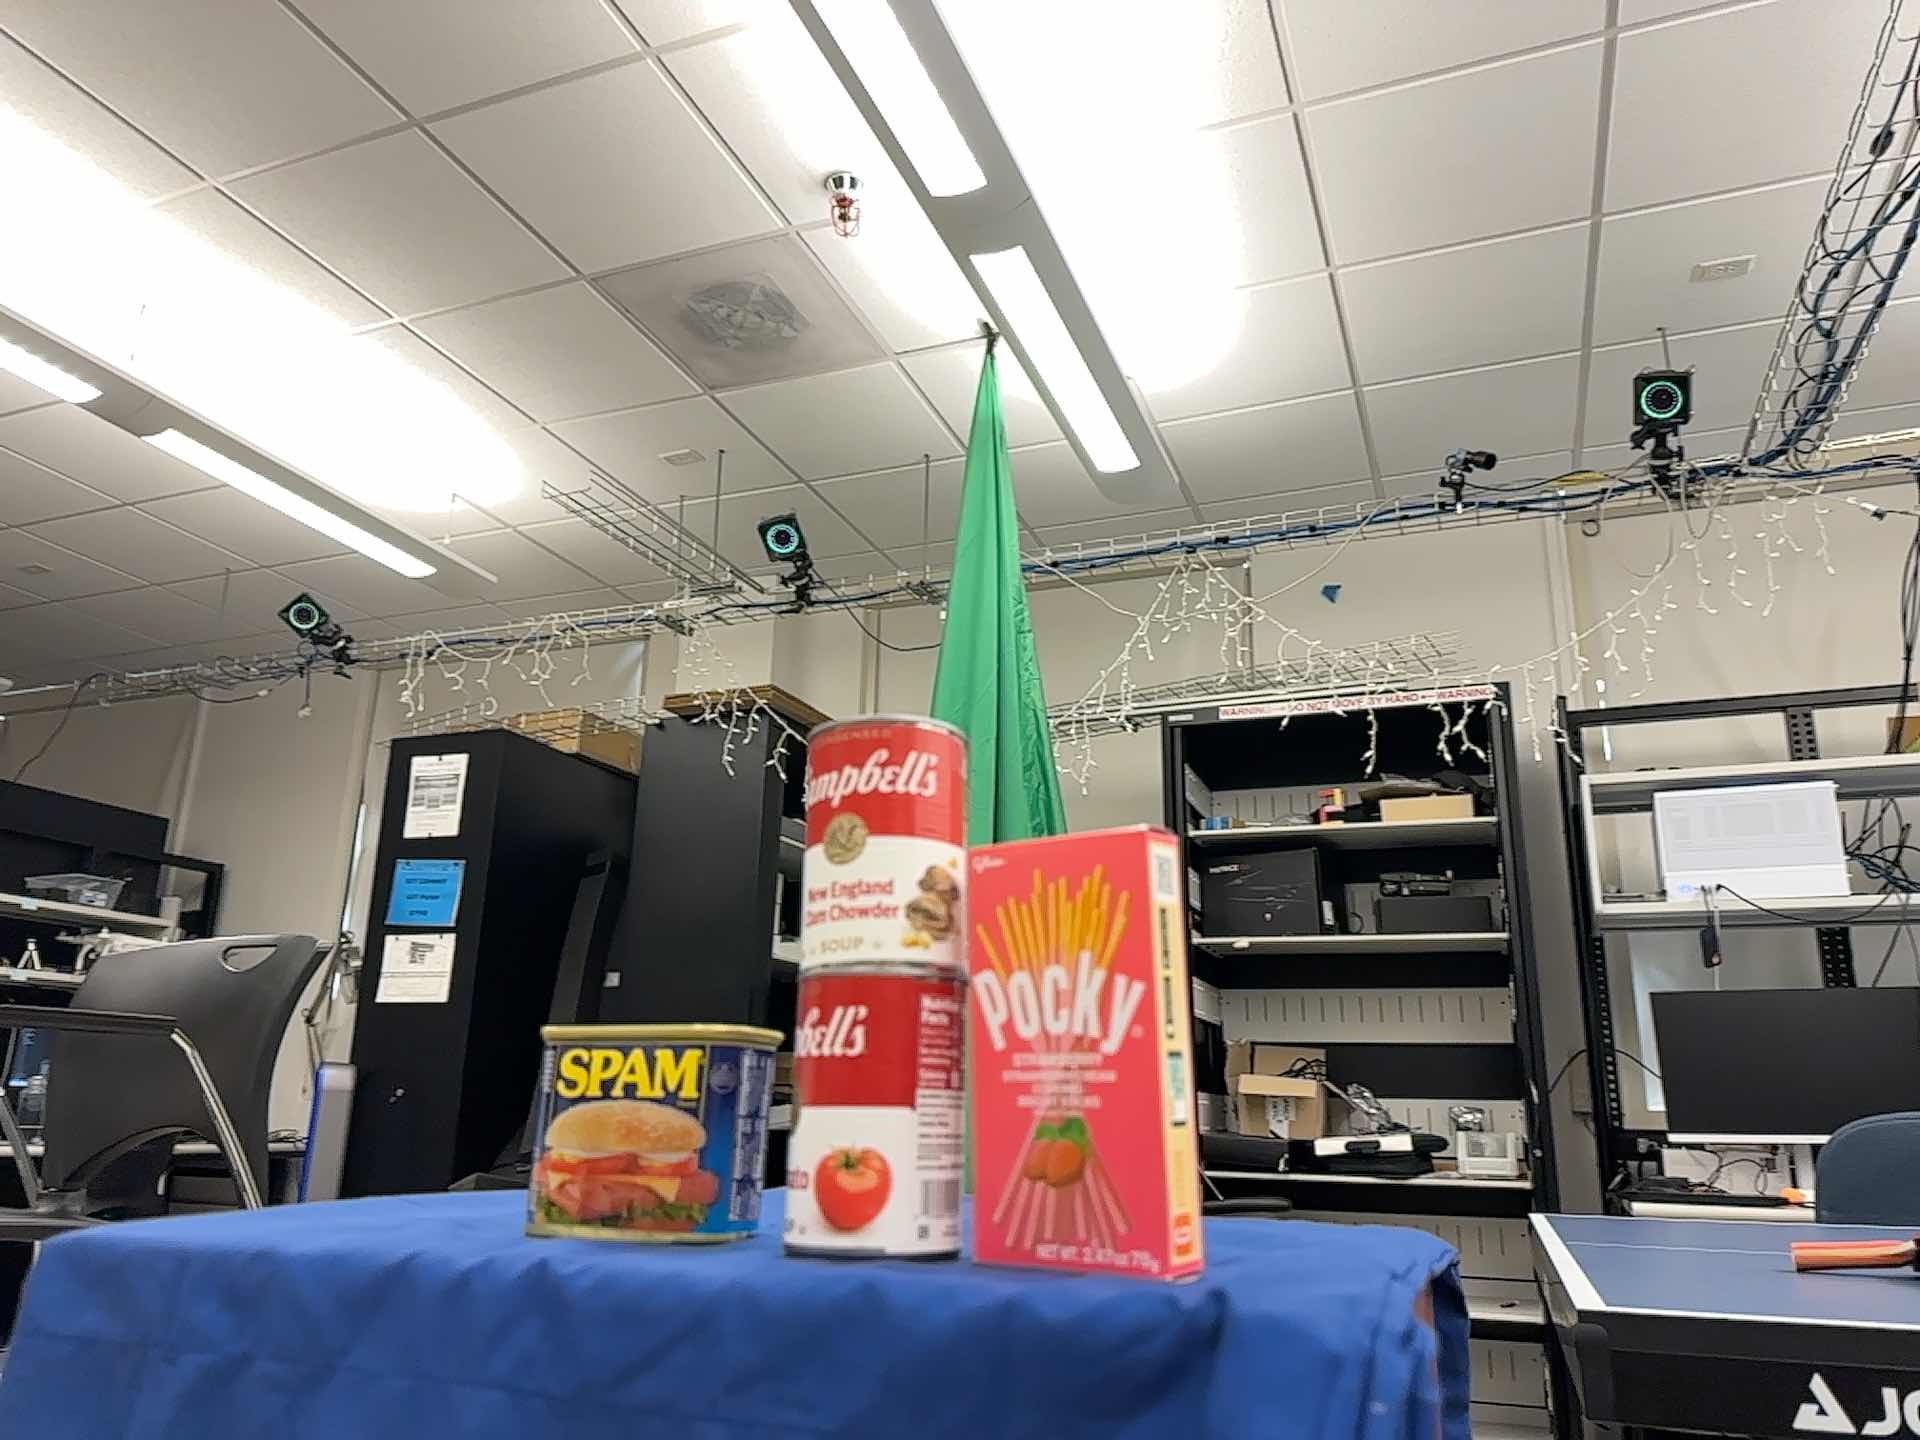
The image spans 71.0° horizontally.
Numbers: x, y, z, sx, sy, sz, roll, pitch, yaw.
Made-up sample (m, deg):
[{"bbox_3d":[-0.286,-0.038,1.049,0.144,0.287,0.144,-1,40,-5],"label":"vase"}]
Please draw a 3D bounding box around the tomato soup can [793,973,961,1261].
[{"bbox_3d":[-0.029,0.152,0.521,0.067,0.102,0.067,1,-16,0],"label":"tomato soup can"}]

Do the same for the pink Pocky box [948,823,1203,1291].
[{"bbox_3d":[0.038,0.118,0.480,0.084,0.154,0.029,-10,-17,32],"label":"pink Pocky box"}]

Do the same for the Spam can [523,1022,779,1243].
[{"bbox_3d":[-0.132,0.173,0.571,0.100,0.083,0.056,-4,-16,21],"label":"Spam can"}]

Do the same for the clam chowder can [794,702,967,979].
[{"bbox_3d":[-0.031,0.052,0.544,0.068,0.102,0.068,0,-19,0],"label":"clam chowder can"}]
